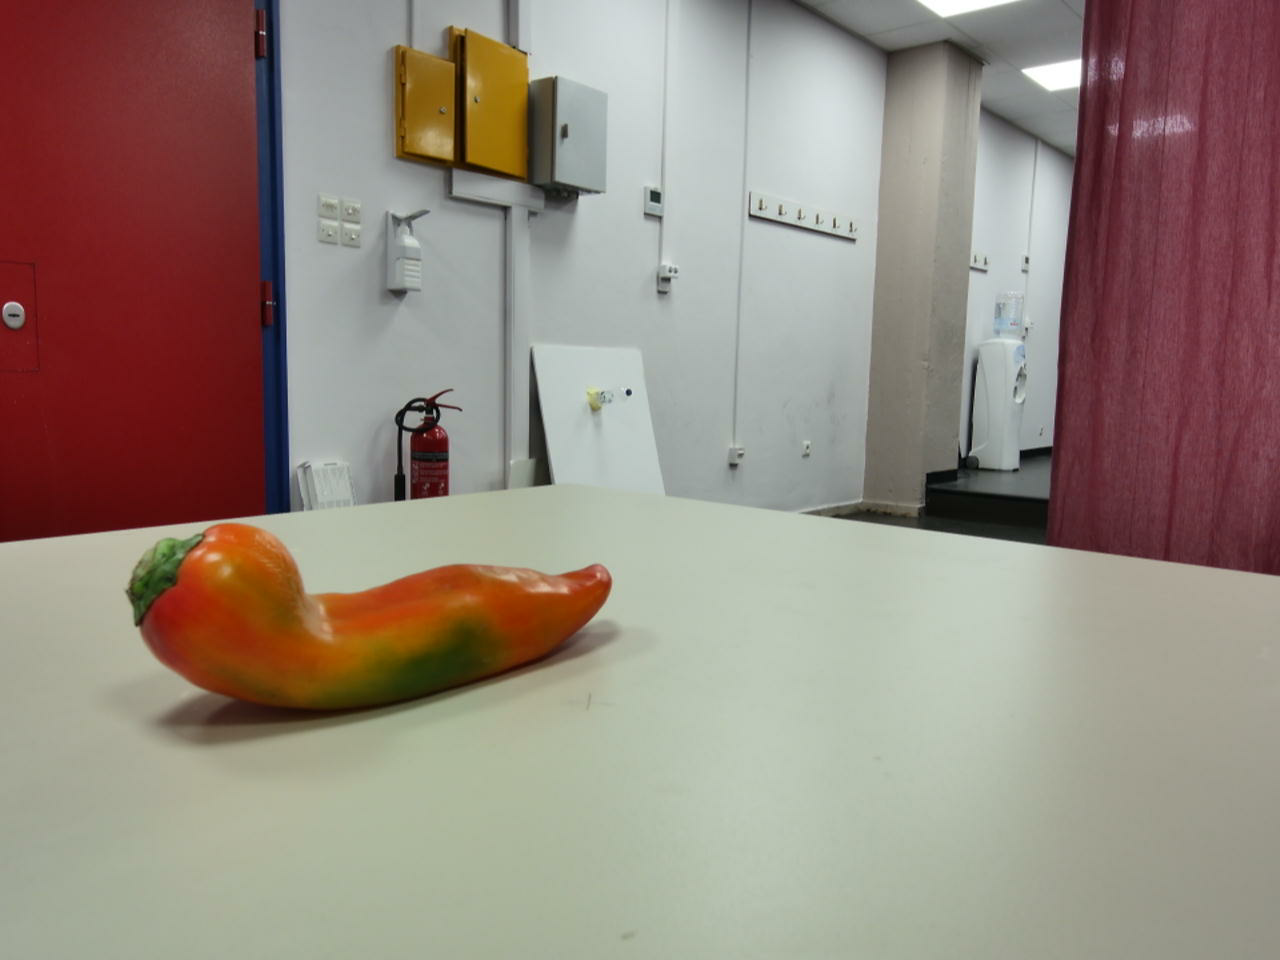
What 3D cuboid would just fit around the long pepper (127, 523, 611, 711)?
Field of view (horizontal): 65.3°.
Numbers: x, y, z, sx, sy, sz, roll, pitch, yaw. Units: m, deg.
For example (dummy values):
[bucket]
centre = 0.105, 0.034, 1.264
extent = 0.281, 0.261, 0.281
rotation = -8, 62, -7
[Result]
[long pepper]
centre = -0.083, 0.042, 0.374
extent = 0.066, 0.065, 0.199
rotation = 4, 5, 44
